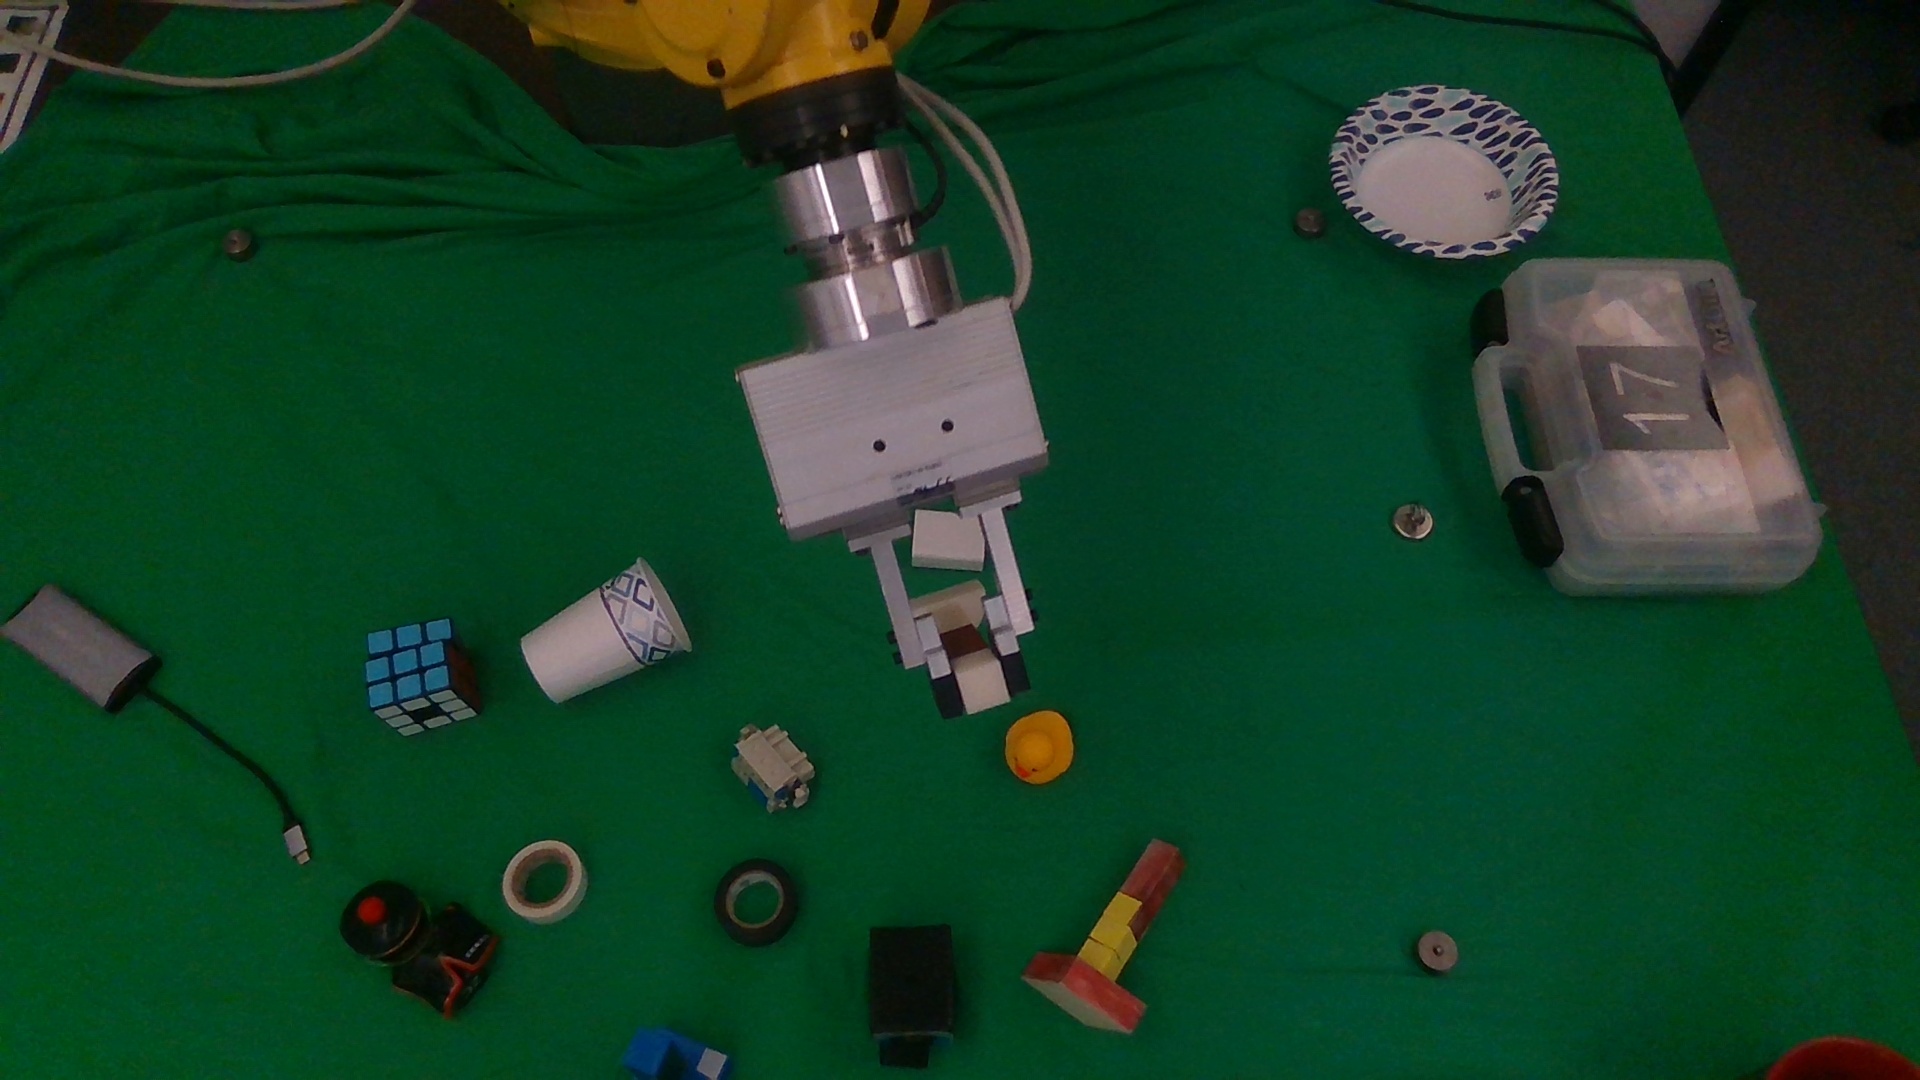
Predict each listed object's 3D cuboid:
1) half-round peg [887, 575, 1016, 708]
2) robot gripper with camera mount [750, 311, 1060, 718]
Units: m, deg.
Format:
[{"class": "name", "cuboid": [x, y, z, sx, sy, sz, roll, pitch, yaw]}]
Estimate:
[{"class": "half-round peg", "cuboid": [0.001, 0.049, 0.651, 0.054, 0.122, 0.031, -17, 104, -7]}, {"class": "robot gripper with camera mount", "cuboid": [-0.026, -0.014, 0.666, 0.119, 0.193, 0.158, -18, 100, -9]}]
